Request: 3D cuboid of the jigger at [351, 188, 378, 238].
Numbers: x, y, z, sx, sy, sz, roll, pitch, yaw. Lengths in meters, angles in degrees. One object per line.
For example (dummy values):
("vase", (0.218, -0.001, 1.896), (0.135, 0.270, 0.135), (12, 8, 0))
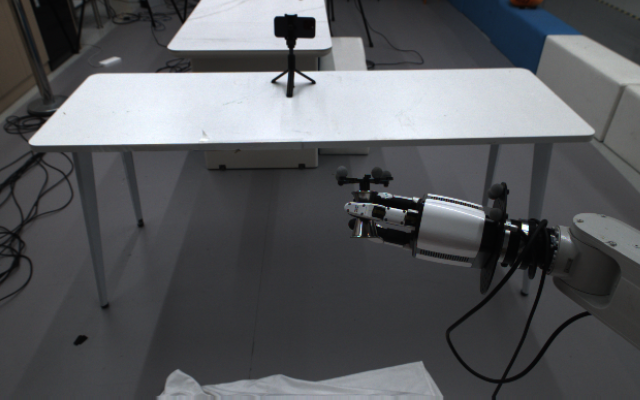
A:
("jigger", (0.065, 0.021, 0.716), (0.043, 0.071, 0.043), (1, -5, 0))
